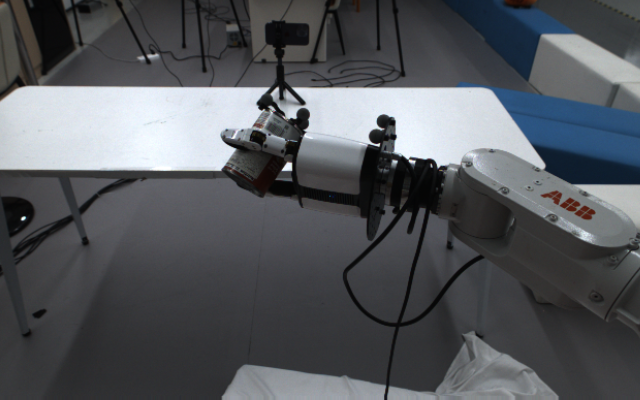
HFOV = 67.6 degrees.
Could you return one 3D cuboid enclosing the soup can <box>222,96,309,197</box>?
[{"bbox_3d":[-0.077,-0.062,0.657,0.067,0.067,0.101,27,78,31],"label":"soup can"}]
